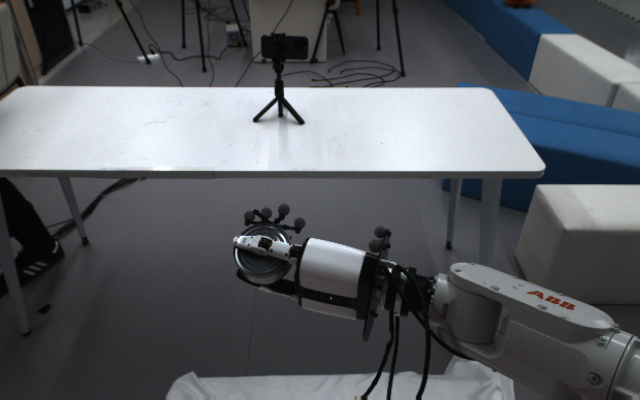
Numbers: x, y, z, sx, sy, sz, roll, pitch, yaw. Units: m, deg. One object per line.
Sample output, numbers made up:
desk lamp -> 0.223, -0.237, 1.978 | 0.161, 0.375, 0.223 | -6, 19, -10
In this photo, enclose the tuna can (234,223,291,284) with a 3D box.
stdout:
tuna can -> -0.081, 0.078, 0.709 | 0.085, 0.034, 0.085 | -3, 57, 4
